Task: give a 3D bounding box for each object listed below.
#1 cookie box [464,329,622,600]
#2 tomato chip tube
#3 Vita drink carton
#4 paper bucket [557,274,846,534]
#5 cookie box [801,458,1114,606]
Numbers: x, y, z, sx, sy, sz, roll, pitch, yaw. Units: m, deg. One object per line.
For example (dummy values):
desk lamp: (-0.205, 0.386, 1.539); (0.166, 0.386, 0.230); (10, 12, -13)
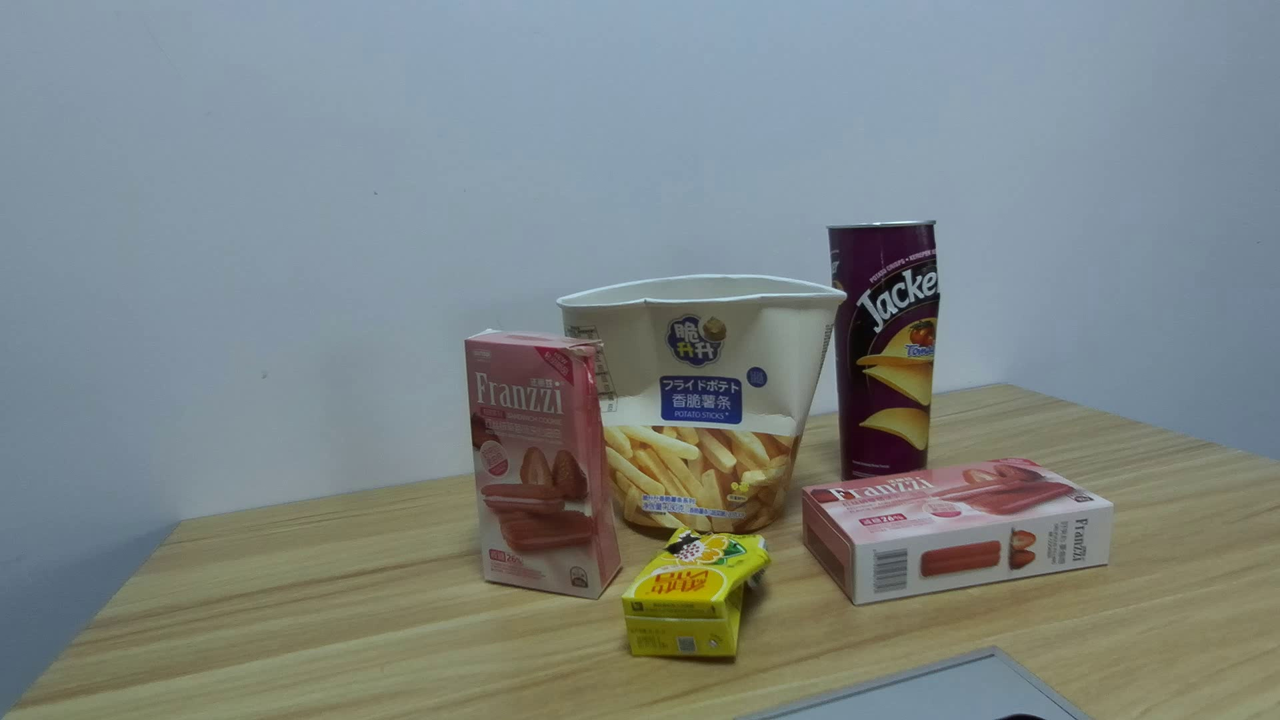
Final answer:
cookie box: (-0.067, 0.073, 0.505); (0.118, 0.184, 0.056); (3, 14, 29)
tomato chip tube: (0.216, -0.004, 0.633); (0.076, 0.235, 0.077); (-5, 9, -5)
Vita drink carton: (0.038, 0.147, 0.454); (0.087, 0.042, 0.108); (-7, 6, 23)
paper bucket: (0.050, 0.033, 0.601); (0.218, 0.199, 0.147); (-7, 13, -7)
cookie box: (0.221, 0.119, 0.507); (0.185, 0.048, 0.096); (-6, 13, -7)
